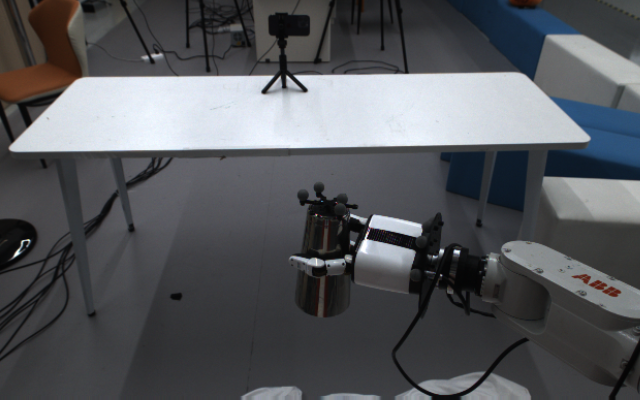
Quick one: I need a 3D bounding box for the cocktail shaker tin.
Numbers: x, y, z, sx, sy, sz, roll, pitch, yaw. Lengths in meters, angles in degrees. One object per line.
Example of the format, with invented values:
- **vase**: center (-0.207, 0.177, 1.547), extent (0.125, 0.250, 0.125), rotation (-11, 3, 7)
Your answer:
- **cocktail shaker tin**: center (0.009, 0.089, 0.770), extent (0.093, 0.170, 0.093), rotation (3, 26, -1)
